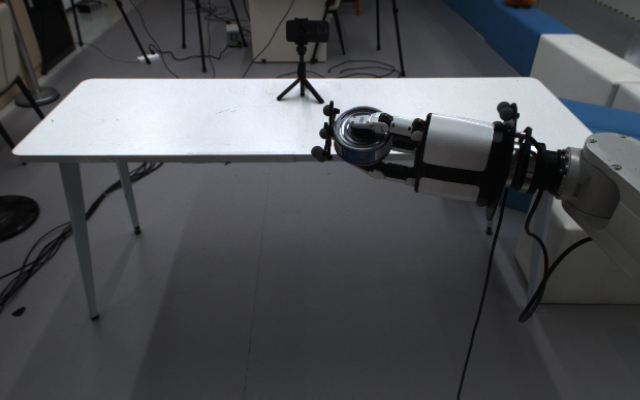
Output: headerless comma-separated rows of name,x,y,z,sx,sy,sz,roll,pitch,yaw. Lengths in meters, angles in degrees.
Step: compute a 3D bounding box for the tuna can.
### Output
tuna can,0.065,-0.090,0.691,0.085,0.034,0.085,-2,58,2
